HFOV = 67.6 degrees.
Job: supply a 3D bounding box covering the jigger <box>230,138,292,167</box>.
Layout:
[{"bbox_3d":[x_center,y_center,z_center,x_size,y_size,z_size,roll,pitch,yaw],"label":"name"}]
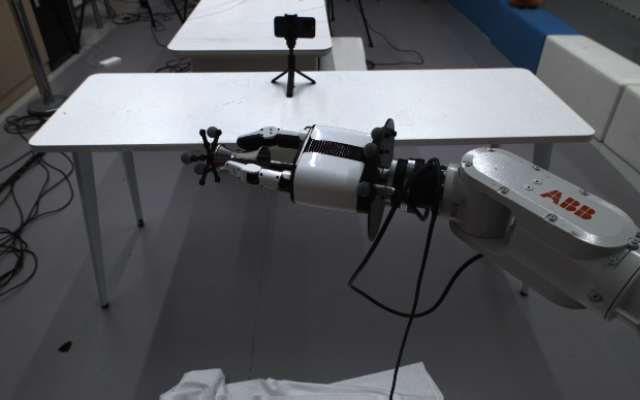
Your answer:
[{"bbox_3d":[-0.101,-0.062,0.677,0.071,0.043,0.043,5,34,19],"label":"jigger"}]
